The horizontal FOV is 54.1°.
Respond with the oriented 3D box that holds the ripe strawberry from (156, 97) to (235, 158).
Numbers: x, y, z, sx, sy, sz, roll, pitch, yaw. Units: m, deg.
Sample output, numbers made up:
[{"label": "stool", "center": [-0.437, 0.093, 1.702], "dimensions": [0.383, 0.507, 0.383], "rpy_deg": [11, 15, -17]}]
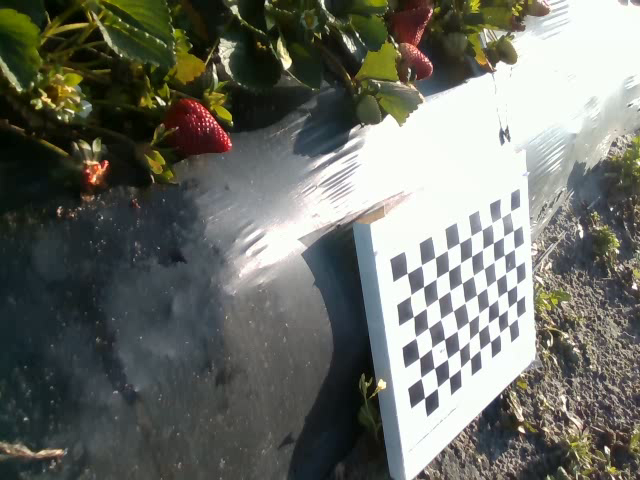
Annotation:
[{"label": "ripe strawberry", "center": [-0.087, -0.079, 0.460], "dimensions": [0.051, 0.052, 0.041], "rpy_deg": [24, -27, 16]}]
